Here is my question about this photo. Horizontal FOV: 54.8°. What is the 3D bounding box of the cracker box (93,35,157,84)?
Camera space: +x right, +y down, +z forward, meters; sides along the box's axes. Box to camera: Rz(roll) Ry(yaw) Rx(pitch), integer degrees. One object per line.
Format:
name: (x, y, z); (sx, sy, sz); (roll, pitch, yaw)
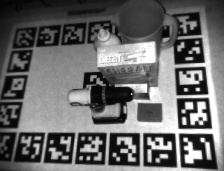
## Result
cracker box: (0.051, -0.064, 0.672); (0.163, 0.216, 0.072); (-6, 69, 13)

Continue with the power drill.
power drill: (-0.022, 0.040, 0.638); (0.183, 0.188, 0.057); (-5, 68, 10)

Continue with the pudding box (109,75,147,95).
pudding box: (0.055, -0.001, 0.709); (0.113, 0.091, 0.038); (-3, 70, 14)

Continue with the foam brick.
foam brick: (0.117, 0.067, 0.710); (0.077, 0.052, 0.052); (-1, 74, 12)

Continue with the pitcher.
pitcher: (0.098, -0.165, 0.689); (0.187, 0.245, 0.133); (2, 73, 16)

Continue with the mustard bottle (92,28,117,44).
mustard bottle: (-0.029, -0.154, 0.725); (0.095, 0.193, 0.058); (10, 76, 16)
